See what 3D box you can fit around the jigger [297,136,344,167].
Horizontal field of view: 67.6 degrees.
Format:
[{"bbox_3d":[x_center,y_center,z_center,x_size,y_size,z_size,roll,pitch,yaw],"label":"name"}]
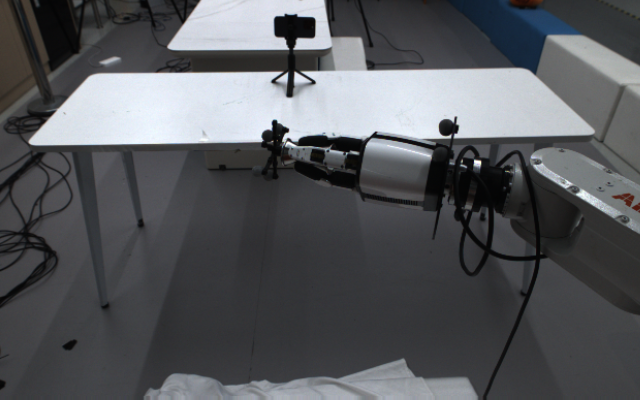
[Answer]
[{"bbox_3d":[-0.010,-0.064,0.669,0.071,0.043,0.043,10,35,16],"label":"jigger"}]
